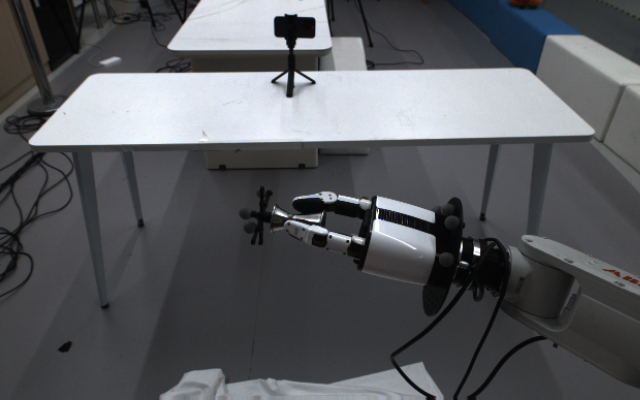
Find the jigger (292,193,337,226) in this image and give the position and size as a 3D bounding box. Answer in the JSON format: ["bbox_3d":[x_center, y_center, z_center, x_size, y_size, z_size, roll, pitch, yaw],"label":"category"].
[{"bbox_3d":[-0.021,0.024,0.652,0.071,0.043,0.043,7,35,7],"label":"jigger"}]
